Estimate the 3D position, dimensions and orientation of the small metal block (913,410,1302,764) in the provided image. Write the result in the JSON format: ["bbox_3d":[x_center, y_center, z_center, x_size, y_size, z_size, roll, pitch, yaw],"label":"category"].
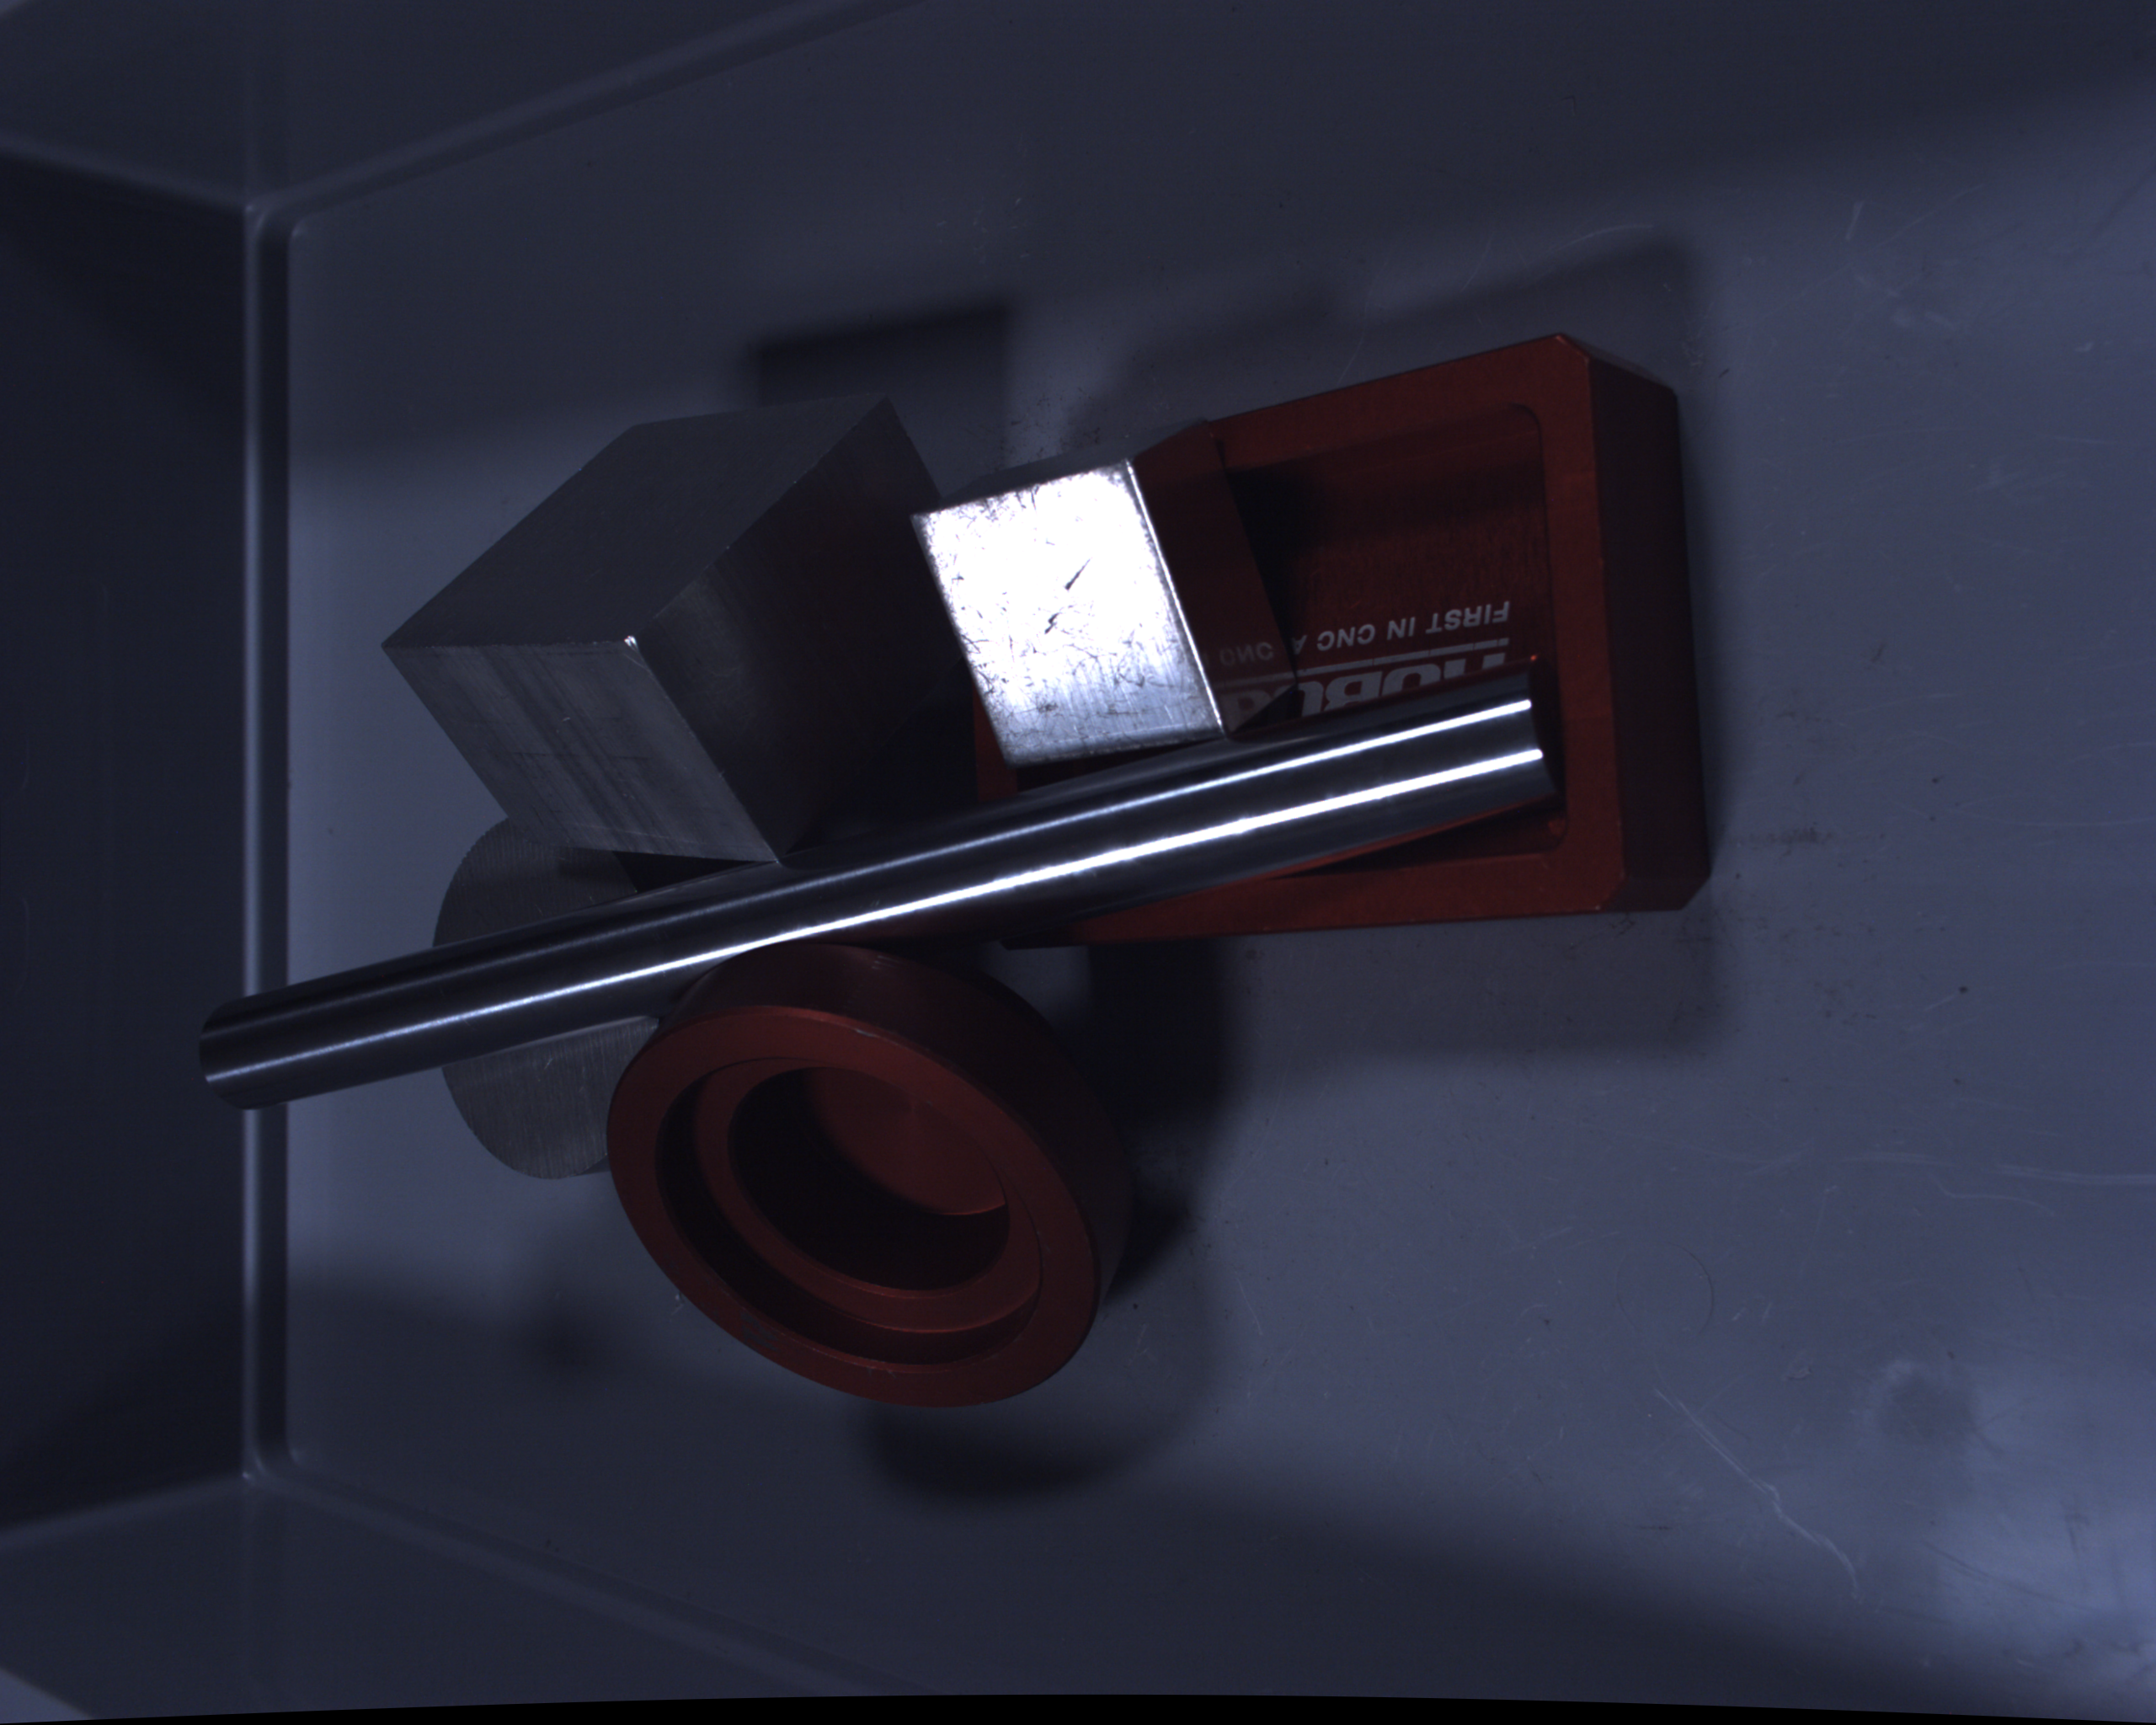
[{"bbox_3d":[0.005,-0.048,0.371,0.050,0.025,0.050,-6,112,40],"label":"small metal block"}]

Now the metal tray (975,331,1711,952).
[{"bbox_3d":[0.040,-0.032,0.366,0.130,0.030,0.089,-6,86,39],"label":"metal tray"}]

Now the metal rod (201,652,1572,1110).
[{"bbox_3d":[-0.055,0.011,0.394,0.300,0.025,0.025,-14,81,27],"label":"metal rod"}]

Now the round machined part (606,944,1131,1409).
[{"bbox_3d":[-0.036,0.055,0.401,0.098,0.042,0.097,11,126,16],"label":"round machined part"}]

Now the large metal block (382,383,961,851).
[{"bbox_3d":[-0.075,-0.049,0.419,0.080,0.080,0.050,4,135,40],"label":"large metal block"}]

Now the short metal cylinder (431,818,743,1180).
[{"bbox_3d":[-0.101,0.028,0.468,0.080,0.050,0.079,0,90,39],"label":"short metal cylinder"}]
